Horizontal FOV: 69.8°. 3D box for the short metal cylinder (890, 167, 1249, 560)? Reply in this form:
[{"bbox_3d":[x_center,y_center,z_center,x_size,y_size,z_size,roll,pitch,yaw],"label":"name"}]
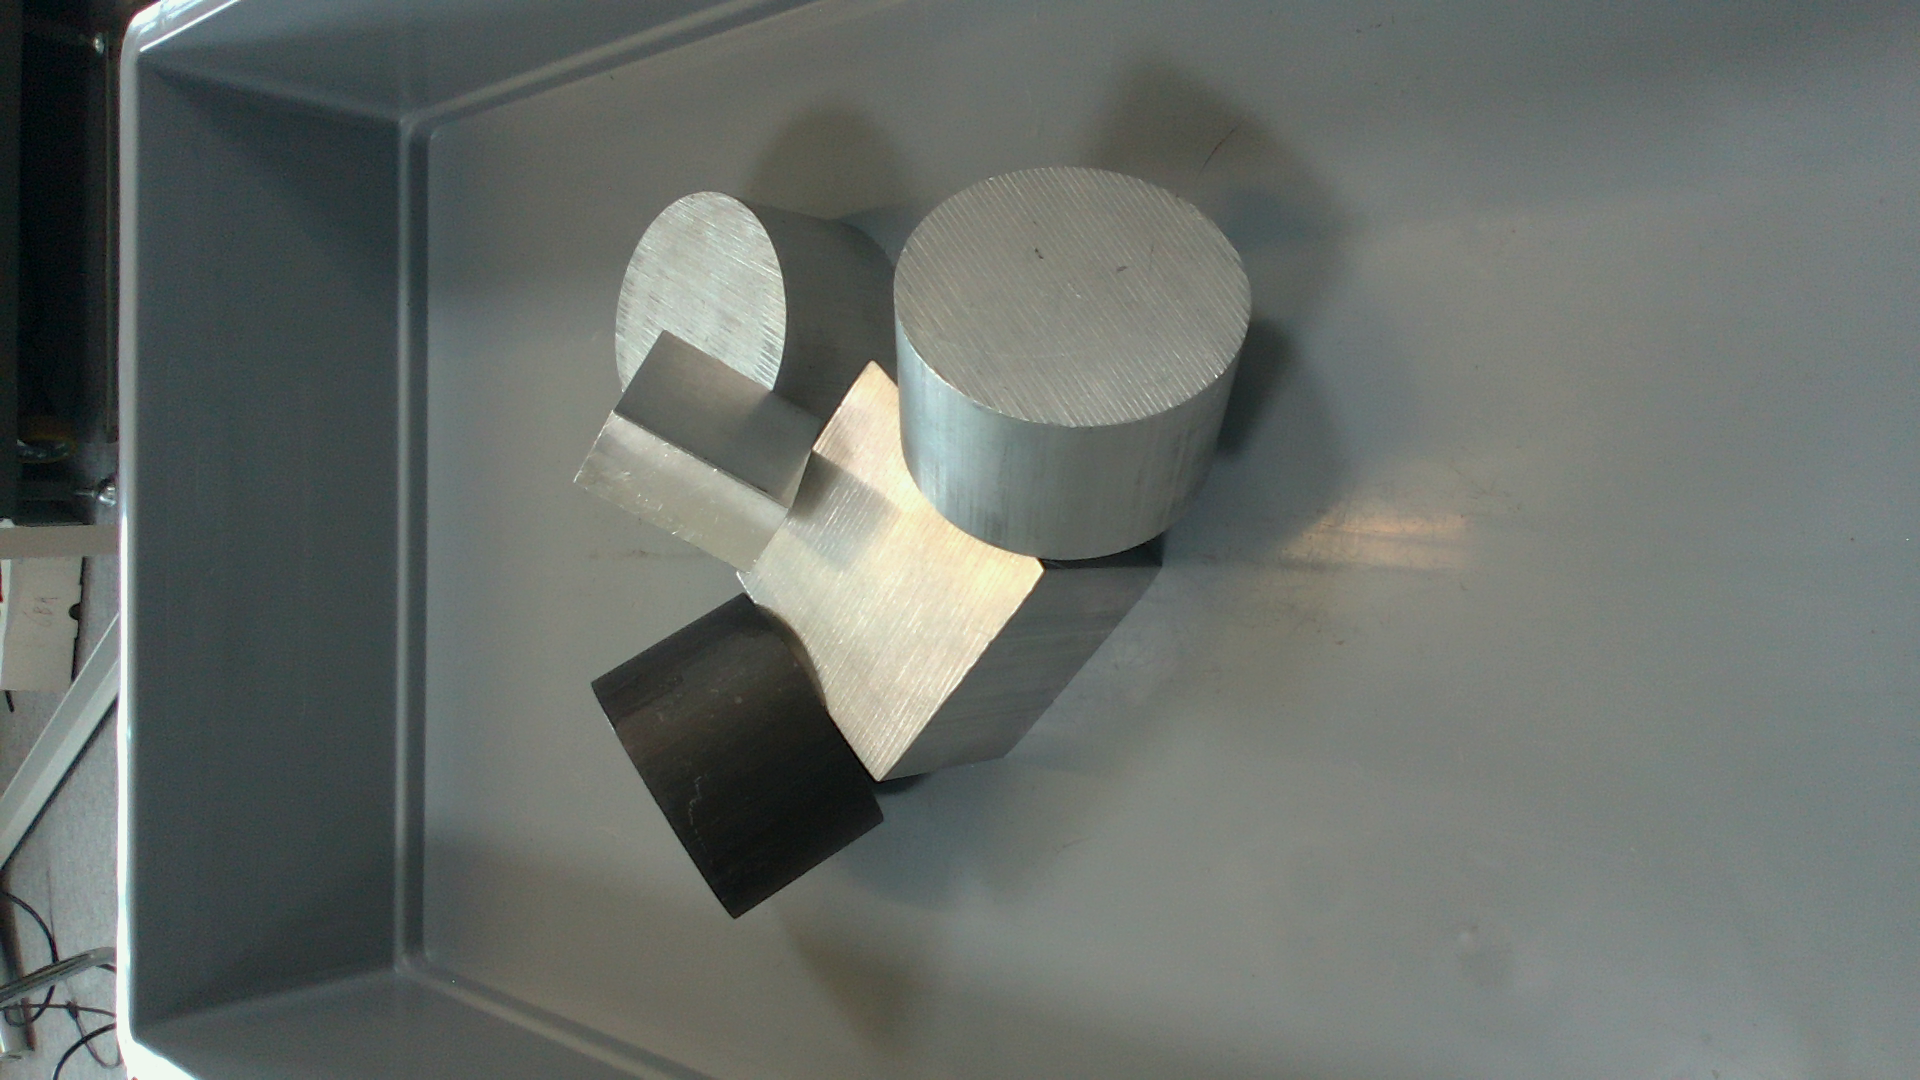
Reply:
[{"bbox_3d":[0.024,-0.042,0.327,0.080,0.080,0.050,51,158,28],"label":"short metal cylinder"}]

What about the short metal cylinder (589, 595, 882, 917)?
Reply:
[{"bbox_3d":[-0.066,0.063,0.405,0.050,0.080,0.080,-32,70,-13],"label":"short metal cylinder"}]

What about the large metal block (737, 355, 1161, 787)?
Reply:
[{"bbox_3d":[-0.006,0.008,0.379,0.080,0.050,0.080,52,120,27],"label":"large metal block"}]

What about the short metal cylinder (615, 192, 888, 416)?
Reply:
[{"bbox_3d":[-0.063,-0.063,0.430,0.080,0.050,0.080,0,90,40],"label":"short metal cylinder"}]

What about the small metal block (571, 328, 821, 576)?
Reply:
[{"bbox_3d":[-0.069,-0.025,0.370,0.025,0.050,0.050,-53,15,29],"label":"small metal block"}]
